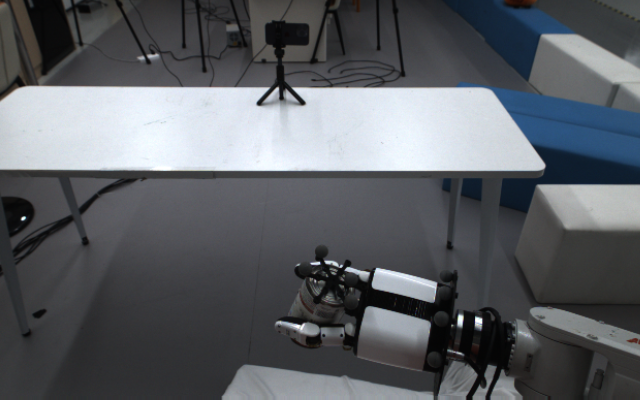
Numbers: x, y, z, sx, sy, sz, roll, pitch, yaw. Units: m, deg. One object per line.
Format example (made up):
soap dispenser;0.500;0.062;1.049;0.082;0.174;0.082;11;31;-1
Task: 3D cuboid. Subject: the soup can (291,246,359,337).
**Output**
soup can;0.001;0.142;0.642;0.067;0.101;0.067;14;39;-12
